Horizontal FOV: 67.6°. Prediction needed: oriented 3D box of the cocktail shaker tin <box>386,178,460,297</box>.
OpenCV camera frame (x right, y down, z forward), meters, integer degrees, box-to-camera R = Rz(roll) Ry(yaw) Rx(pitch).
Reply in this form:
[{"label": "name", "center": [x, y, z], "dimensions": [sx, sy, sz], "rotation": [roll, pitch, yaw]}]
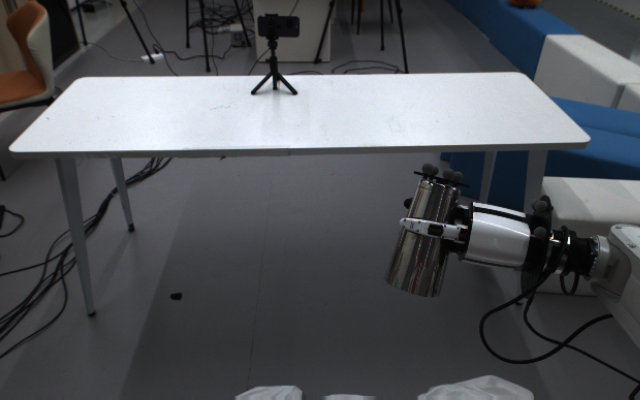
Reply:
[{"label": "cocktail shaker tin", "center": [0.170, 0.056, 0.771], "dimensions": [0.093, 0.170, 0.093], "rotation": [14, 6, -2]}]
